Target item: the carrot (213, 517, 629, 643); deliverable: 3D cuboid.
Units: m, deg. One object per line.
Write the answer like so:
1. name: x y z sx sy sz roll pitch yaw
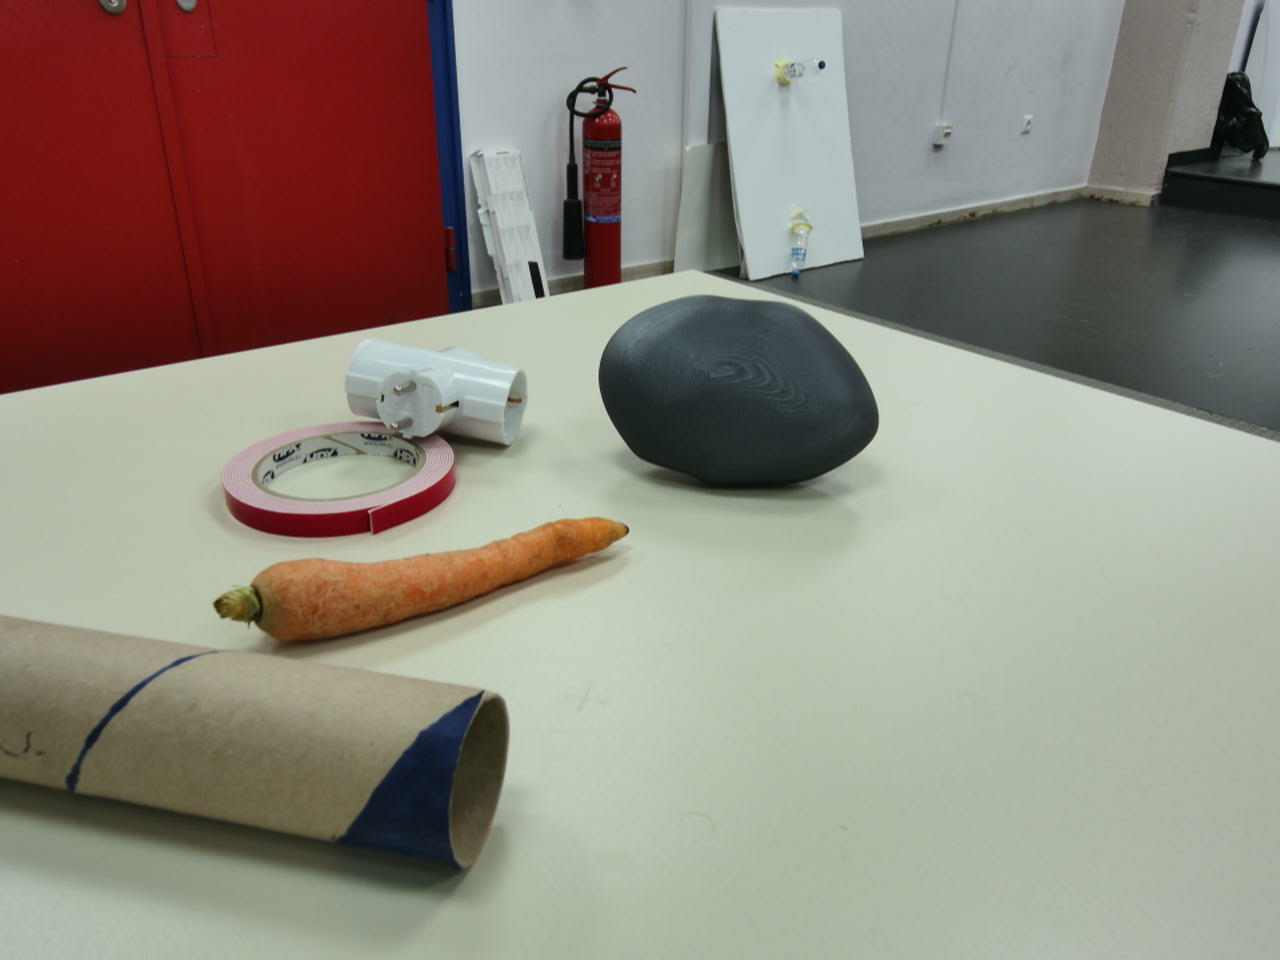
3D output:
1. carrot: -0.076 0.034 0.396 0.173 0.032 0.030 -12 27 -27
